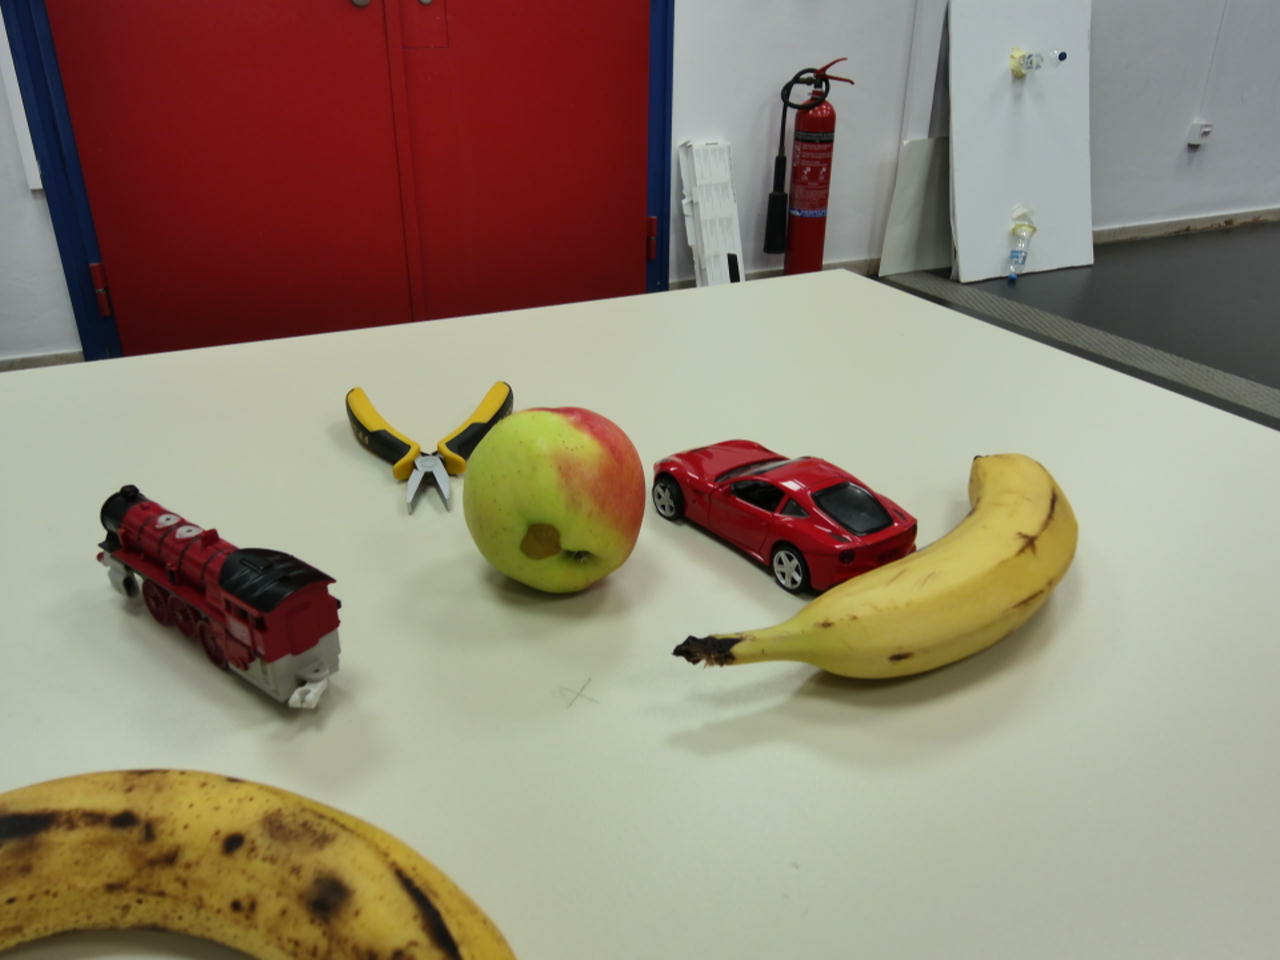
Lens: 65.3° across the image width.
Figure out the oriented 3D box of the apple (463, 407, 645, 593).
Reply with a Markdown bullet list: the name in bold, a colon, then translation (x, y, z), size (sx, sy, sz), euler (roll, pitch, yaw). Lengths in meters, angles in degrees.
- **apple**: translation (-0.033, 0.007, 0.408), size (0.075, 0.074, 0.075), euler (22, 32, 39)
